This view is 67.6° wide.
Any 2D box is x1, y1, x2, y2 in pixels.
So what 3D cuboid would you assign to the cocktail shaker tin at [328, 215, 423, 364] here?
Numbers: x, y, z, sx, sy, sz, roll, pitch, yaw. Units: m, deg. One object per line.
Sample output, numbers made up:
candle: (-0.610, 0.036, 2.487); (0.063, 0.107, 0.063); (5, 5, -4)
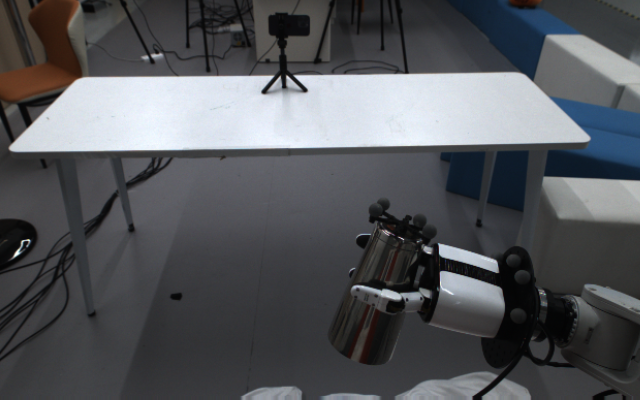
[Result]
cocktail shaker tin: (0.078, 0.115, 0.632); (0.093, 0.170, 0.093); (15, 17, -5)
